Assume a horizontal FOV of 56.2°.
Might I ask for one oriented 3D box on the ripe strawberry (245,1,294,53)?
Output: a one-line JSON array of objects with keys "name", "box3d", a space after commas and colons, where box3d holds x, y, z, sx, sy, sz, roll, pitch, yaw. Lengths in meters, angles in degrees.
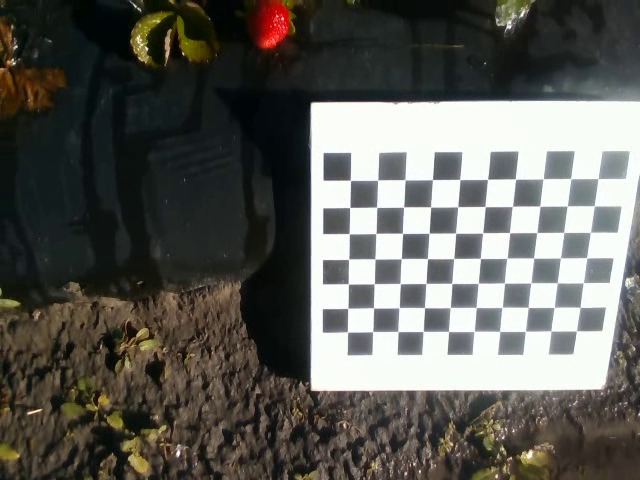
[{"name": "ripe strawberry", "box3d": [-0.033, -0.133, 0.384, 0.039, 0.040, 0.039, -7, 42, 12]}]
